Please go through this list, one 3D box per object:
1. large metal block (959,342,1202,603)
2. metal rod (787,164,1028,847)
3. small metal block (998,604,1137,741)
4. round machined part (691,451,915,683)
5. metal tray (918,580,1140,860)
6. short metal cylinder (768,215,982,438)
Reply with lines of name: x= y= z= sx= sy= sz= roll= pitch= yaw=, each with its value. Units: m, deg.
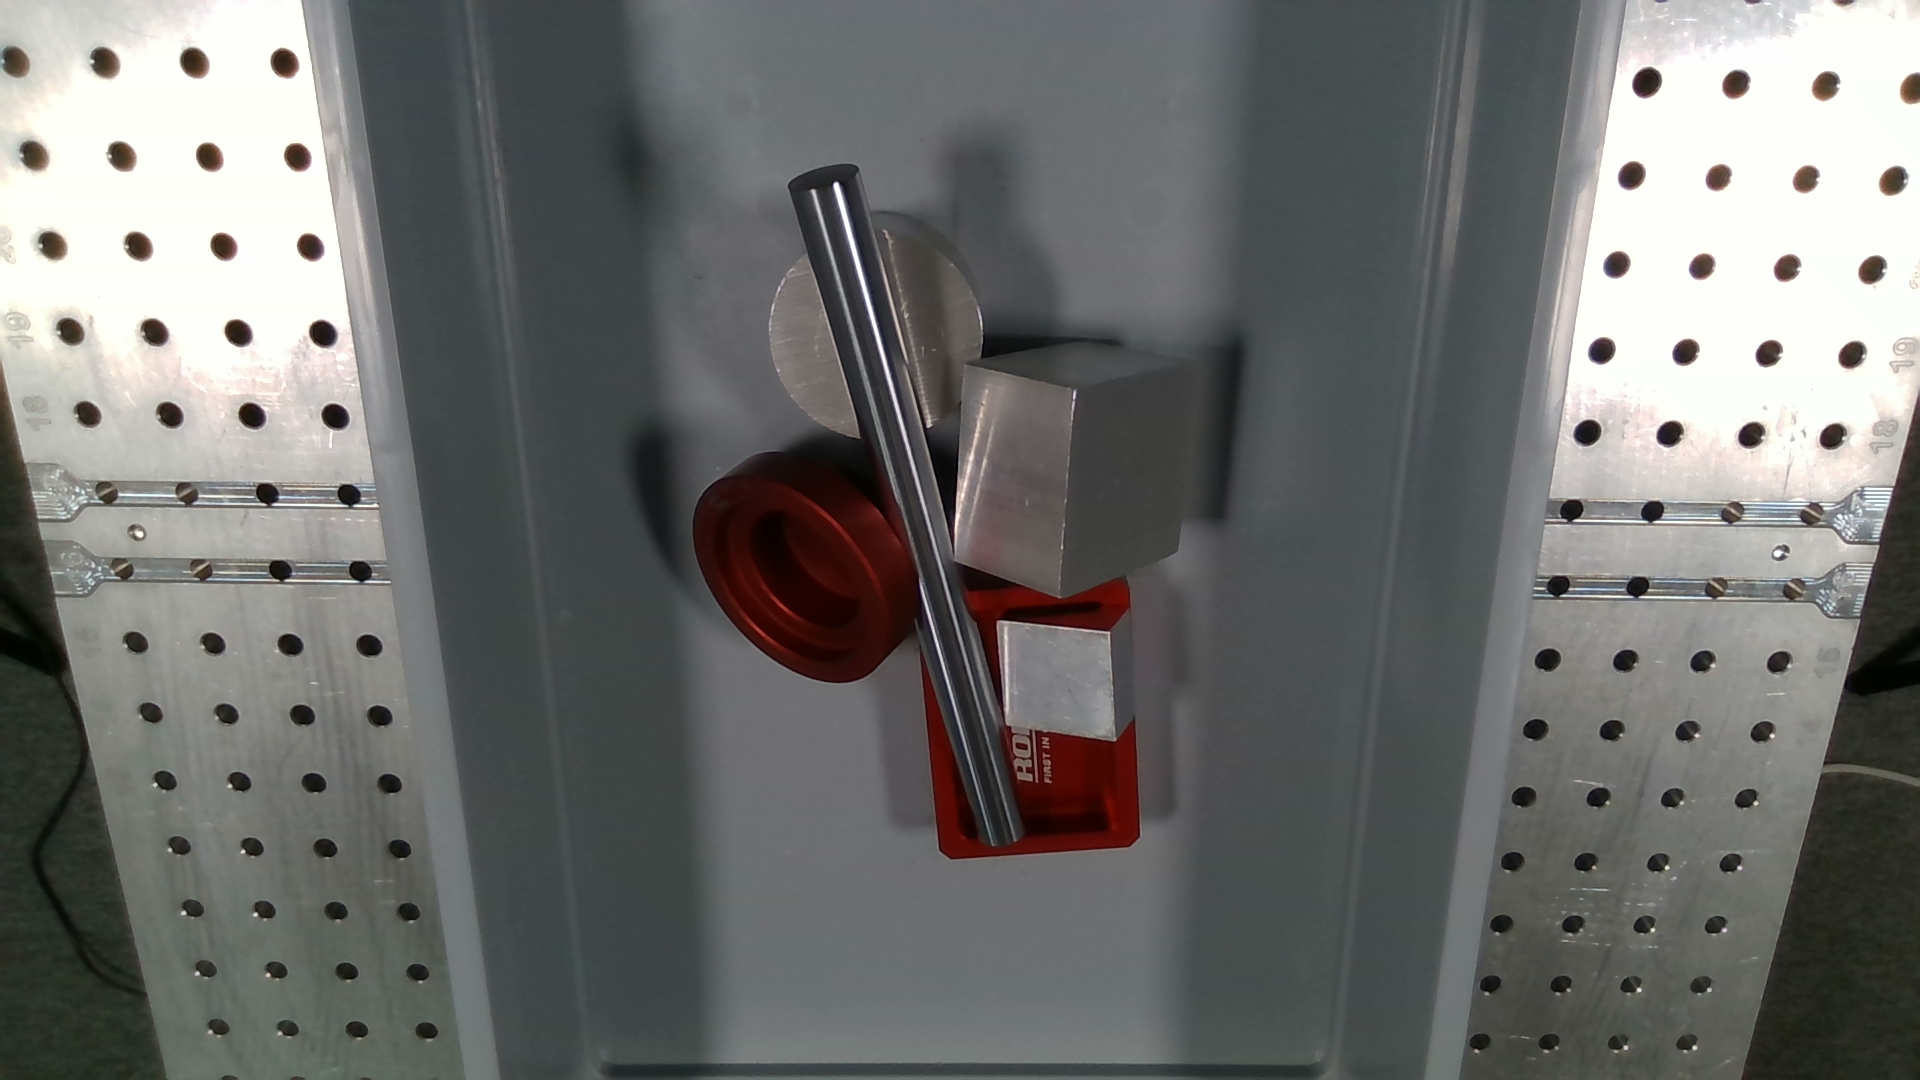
large metal block: x=0.047 y=-0.029 z=0.535 sx=0.050 sy=0.080 sz=0.080 roll=19 pitch=115 yaw=39
metal rod: x=-0.014 y=0.003 z=0.541 sx=0.025 sy=0.025 sz=0.301 roll=-12 pitch=121 yaw=4
small metal block: x=0.046 y=0.053 z=0.580 sx=0.050 sy=0.025 sz=0.050 roll=5 pitch=112 yaw=26
round machined part: x=-0.058 y=0.007 z=0.560 sx=0.098 sy=0.042 sz=0.098 roll=21 pitch=132 yaw=25
metal tray: x=0.030 y=0.075 z=0.608 sx=0.090 sy=0.030 sz=0.130 roll=-4 pitch=110 yaw=2
short metal cylinder: x=-0.032 y=-0.085 z=0.538 sx=0.080 sy=0.050 sz=0.080 roll=0 pitch=110 yaw=0
